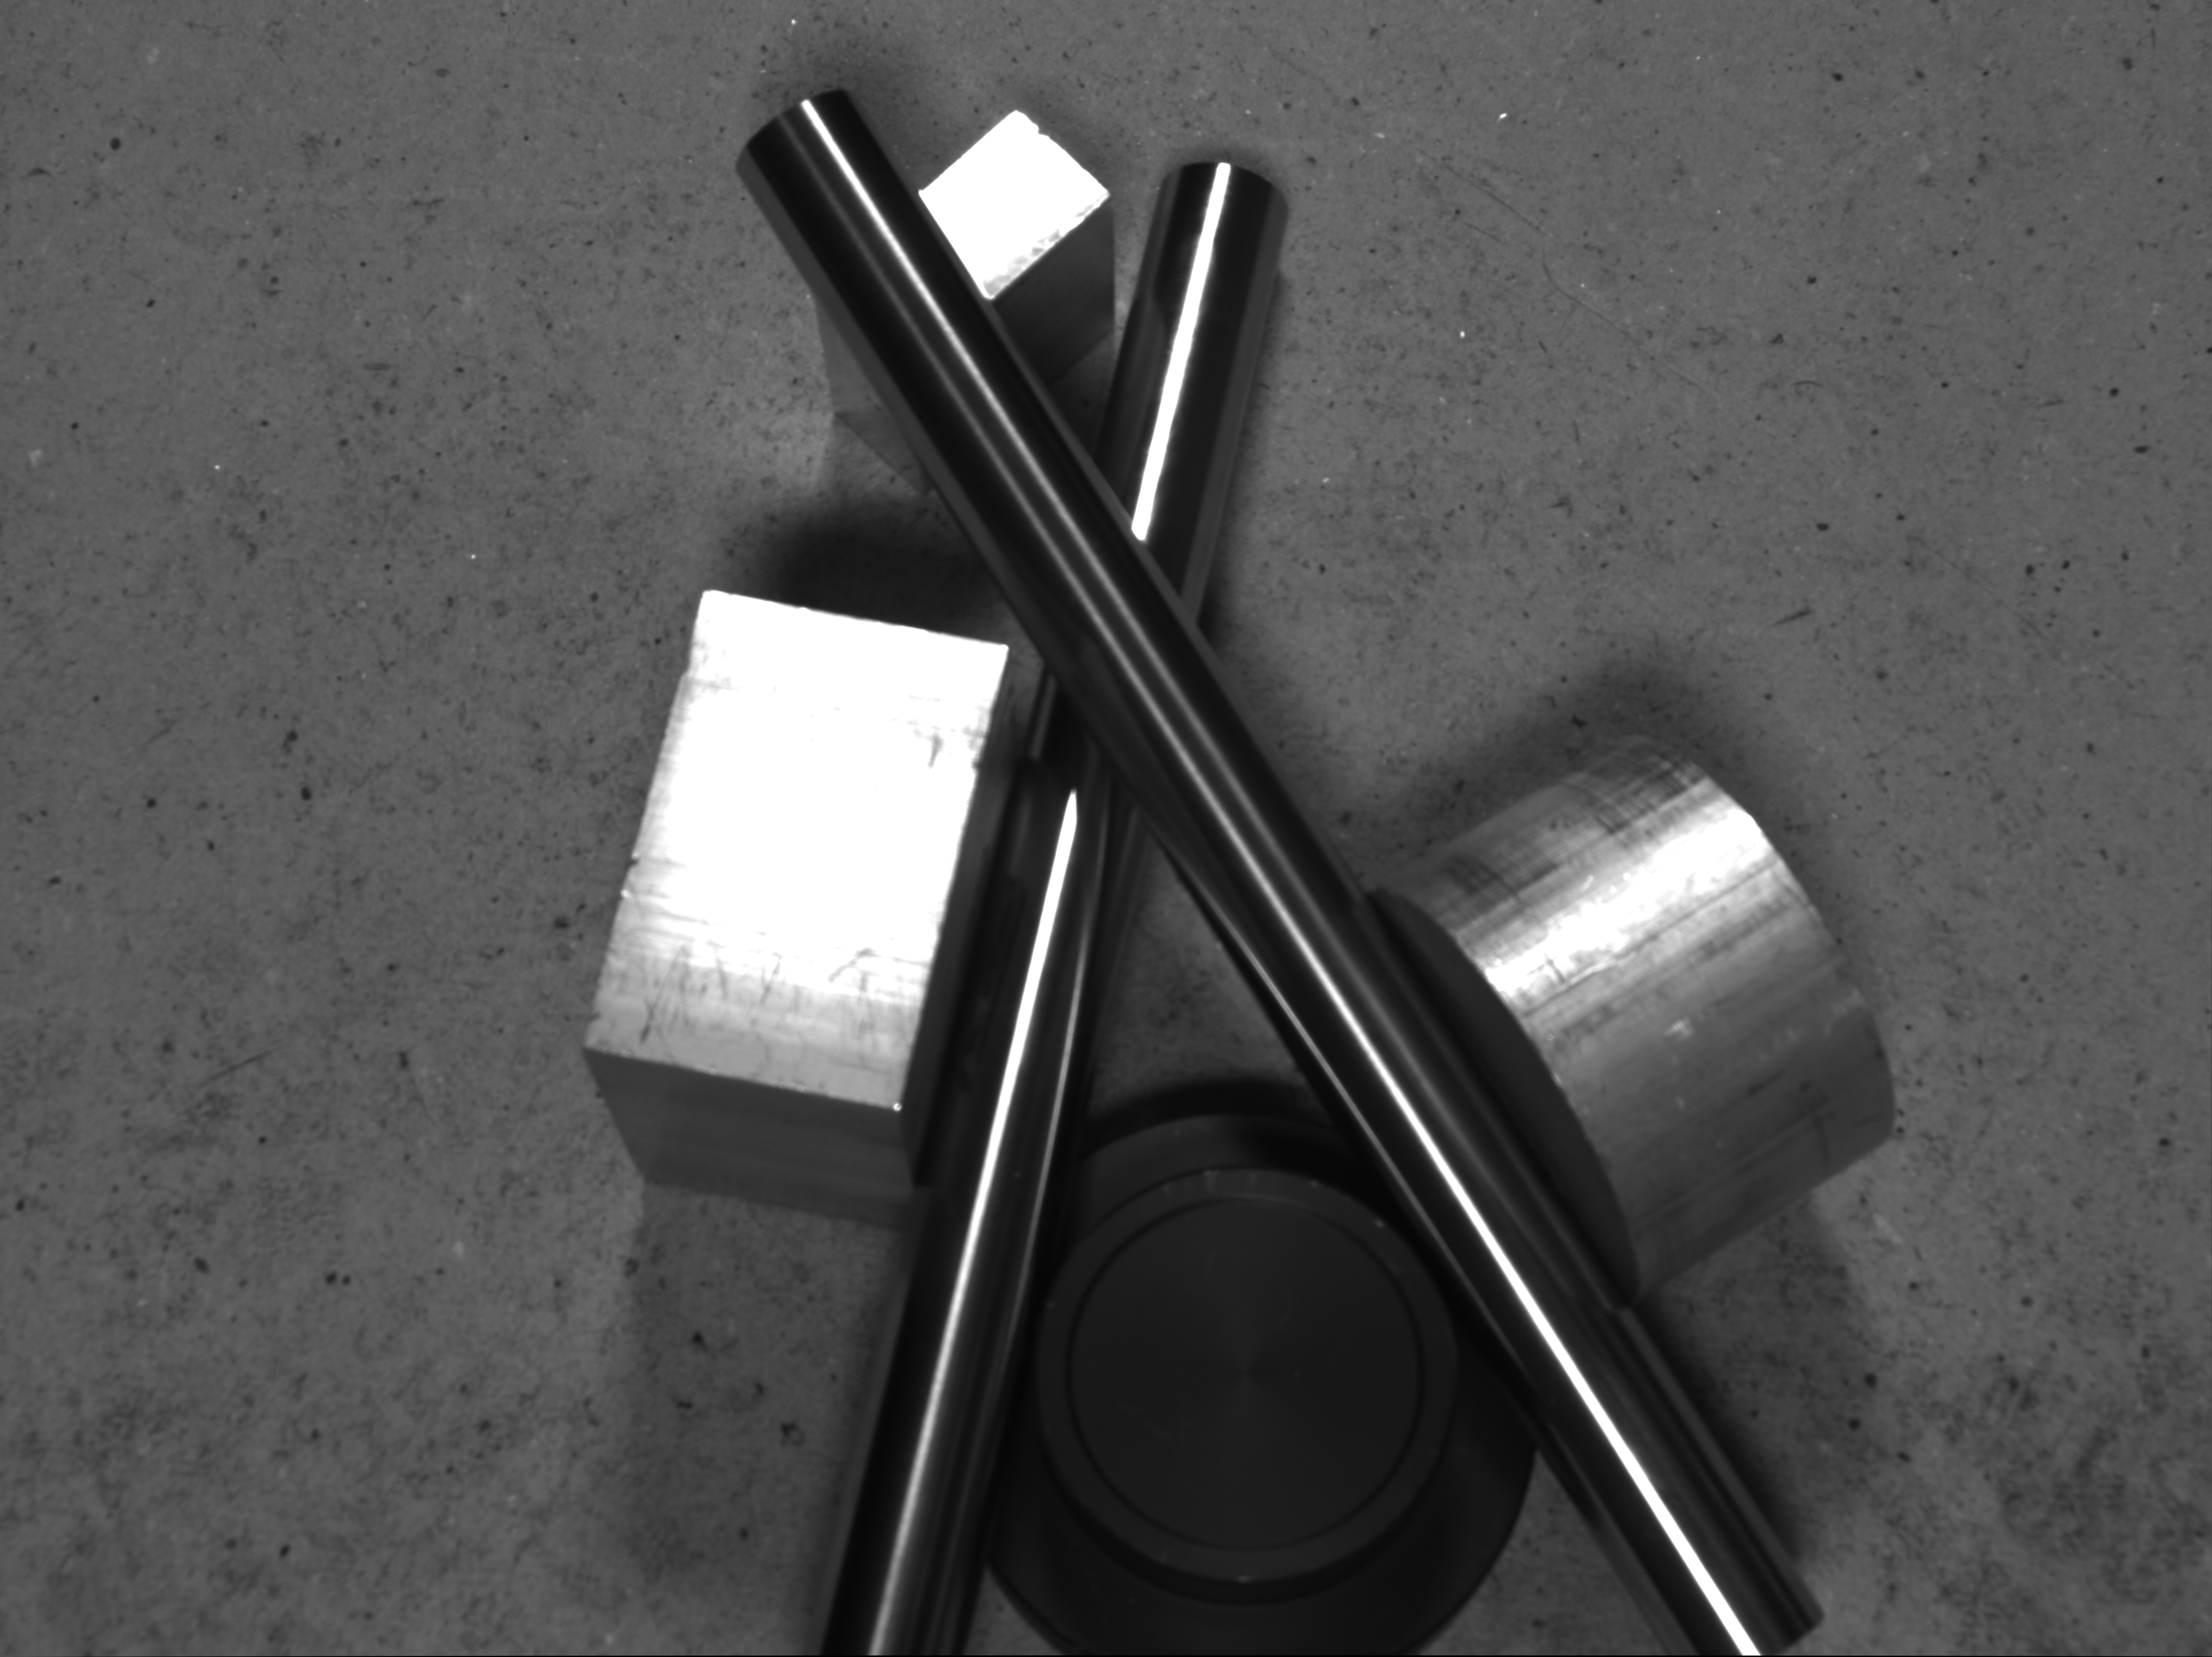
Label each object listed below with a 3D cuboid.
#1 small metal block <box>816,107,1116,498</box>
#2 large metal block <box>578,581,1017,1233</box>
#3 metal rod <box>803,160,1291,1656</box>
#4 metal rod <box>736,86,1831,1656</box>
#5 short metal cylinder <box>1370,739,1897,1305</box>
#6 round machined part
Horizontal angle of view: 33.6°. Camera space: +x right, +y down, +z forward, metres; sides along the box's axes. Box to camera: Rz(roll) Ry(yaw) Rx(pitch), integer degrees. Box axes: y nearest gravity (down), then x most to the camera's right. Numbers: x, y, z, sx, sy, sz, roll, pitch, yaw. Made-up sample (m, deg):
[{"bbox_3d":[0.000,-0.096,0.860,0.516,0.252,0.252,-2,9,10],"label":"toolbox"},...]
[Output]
[{"bbox_3d":[-0.025,-0.095,0.666,0.050,0.050,0.025,-43,75,-14],"label":"small metal block"},{"bbox_3d":[-0.048,0.016,0.610,0.050,0.080,0.080,11,70,4],"label":"large metal block"},{"bbox_3d":[-0.008,0.014,0.624,0.025,0.025,0.300,11,64,4],"label":"metal rod"},{"bbox_3d":[0.026,0.006,0.606,0.025,0.025,0.300,-31,81,-11],"label":"metal rod"},{"bbox_3d":[0.085,0.032,0.604,0.050,0.080,0.080,-30,73,-10],"label":"short metal cylinder"},{"bbox_3d":[0.023,0.094,0.602,0.098,0.042,0.098,0,70,0],"label":"round machined part"}]
